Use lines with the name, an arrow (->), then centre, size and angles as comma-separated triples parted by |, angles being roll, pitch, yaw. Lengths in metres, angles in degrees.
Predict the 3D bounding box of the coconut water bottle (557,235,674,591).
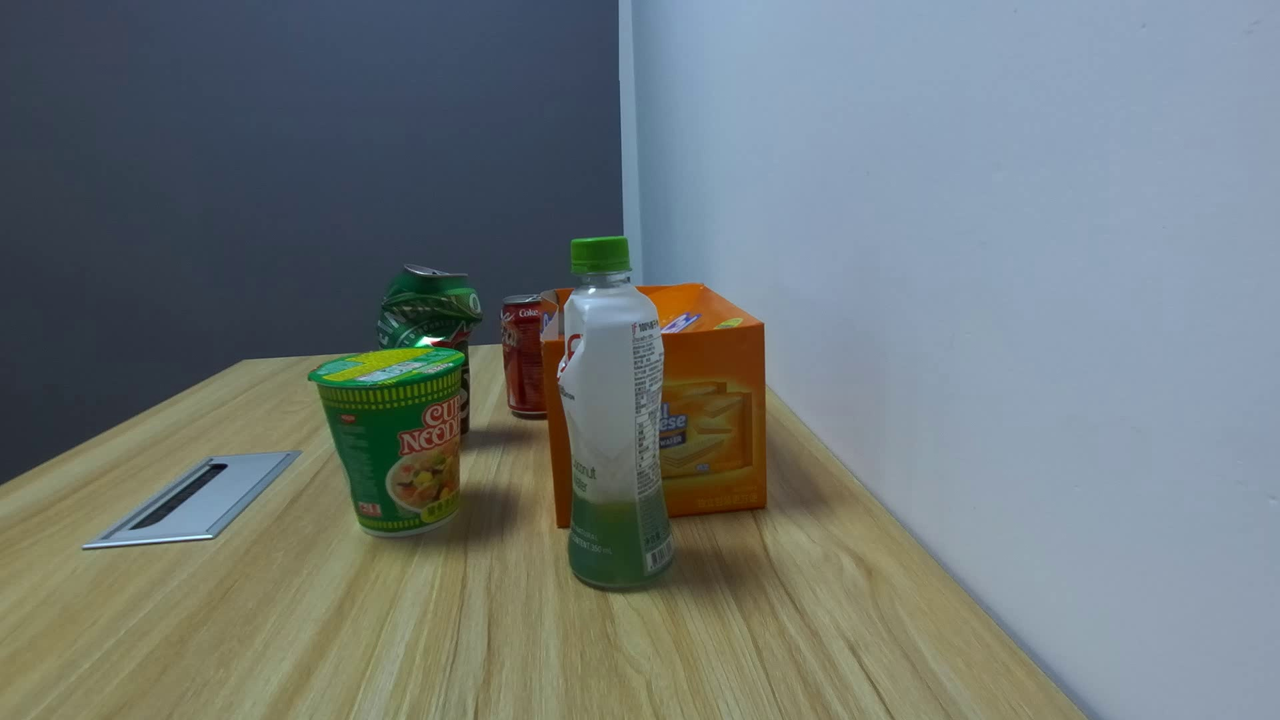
coconut water bottle -> -0.016, 0.028, 0.393 | 0.069, 0.186, 0.069 | -4, 13, 1

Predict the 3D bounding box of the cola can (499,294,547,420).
cola can -> -0.097, -0.006, 0.672 | 0.066, 0.117, 0.066 | -5, 11, -13

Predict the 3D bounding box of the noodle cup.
noodle cup -> -0.161, 0.054, 0.478 | 0.097, 0.110, 0.097 | -3, 15, 1

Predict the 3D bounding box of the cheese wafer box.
cheese wafer box -> -0.001, 0.020, 0.557 | 0.152, 0.132, 0.230 | -4, 15, -7

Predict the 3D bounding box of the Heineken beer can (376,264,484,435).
Heineken beer can -> -0.186, -0.001, 0.617 | 0.079, 0.159, 0.067 | -2, 13, -30
